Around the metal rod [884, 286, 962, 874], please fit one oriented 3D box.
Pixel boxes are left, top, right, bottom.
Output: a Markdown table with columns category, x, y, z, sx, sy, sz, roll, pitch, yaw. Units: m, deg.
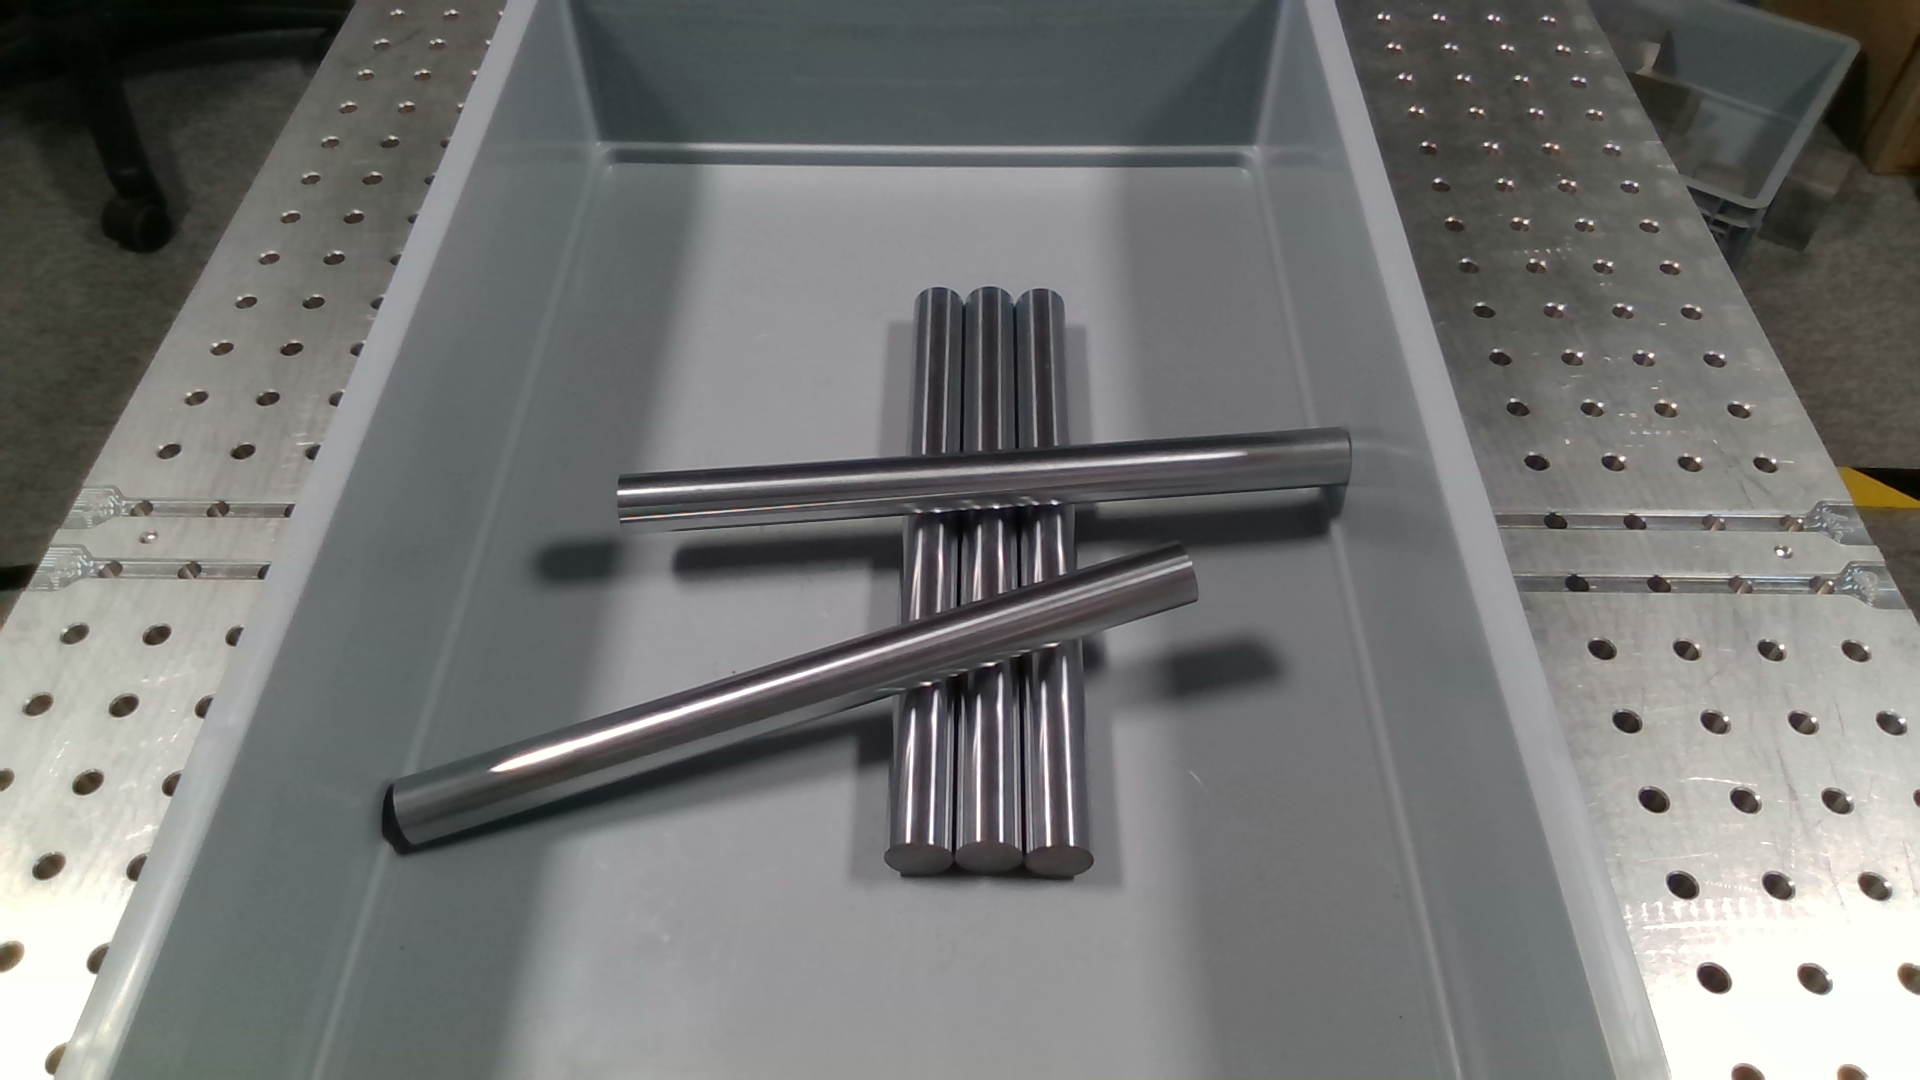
| category | x | y | z | sx | sy | sz | roll | pitch | yaw |
| --- | --- | --- | --- | --- | --- | --- | --- | --- | --- |
| metal rod | -0.013 | -0.001 | 0.587 | 0.025 | 0.025 | 0.299 | 1 | 50 | 1 |

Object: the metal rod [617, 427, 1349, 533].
| category | x | y | z | sx | sy | sz | roll | pitch | yaw |
| --- | --- | --- | --- | --- | --- | --- | --- | --- | --- |
| metal rod | 0.011 | -0.025 | 0.574 | 0.300 | 0.025 | 0.025 | -4 | 50 | -3 |

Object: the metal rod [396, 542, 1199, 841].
| category | x | y | z | sx | sy | sz | roll | pitch | yaw |
| --- | --- | --- | --- | --- | --- | --- | --- | --- | --- |
| metal rod | -0.057 | 0.055 | 0.514 | 0.300 | 0.025 | 0.025 | -17 | 52 | -5 |

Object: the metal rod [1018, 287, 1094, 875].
| category | x | y | z | sx | sy | sz | roll | pitch | yaw |
| --- | --- | --- | --- | --- | --- | --- | --- | --- | --- |
| metal rod | 0.037 | -0.001 | 0.587 | 0.025 | 0.025 | 0.299 | 1 | 50 | 1 |

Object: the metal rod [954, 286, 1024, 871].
| category | x | y | z | sx | sy | sz | roll | pitch | yaw |
| --- | --- | --- | --- | --- | --- | --- | --- | --- | --- |
| metal rod | 0.012 | -0.002 | 0.587 | 0.025 | 0.025 | 0.299 | 1 | 50 | 1 |
